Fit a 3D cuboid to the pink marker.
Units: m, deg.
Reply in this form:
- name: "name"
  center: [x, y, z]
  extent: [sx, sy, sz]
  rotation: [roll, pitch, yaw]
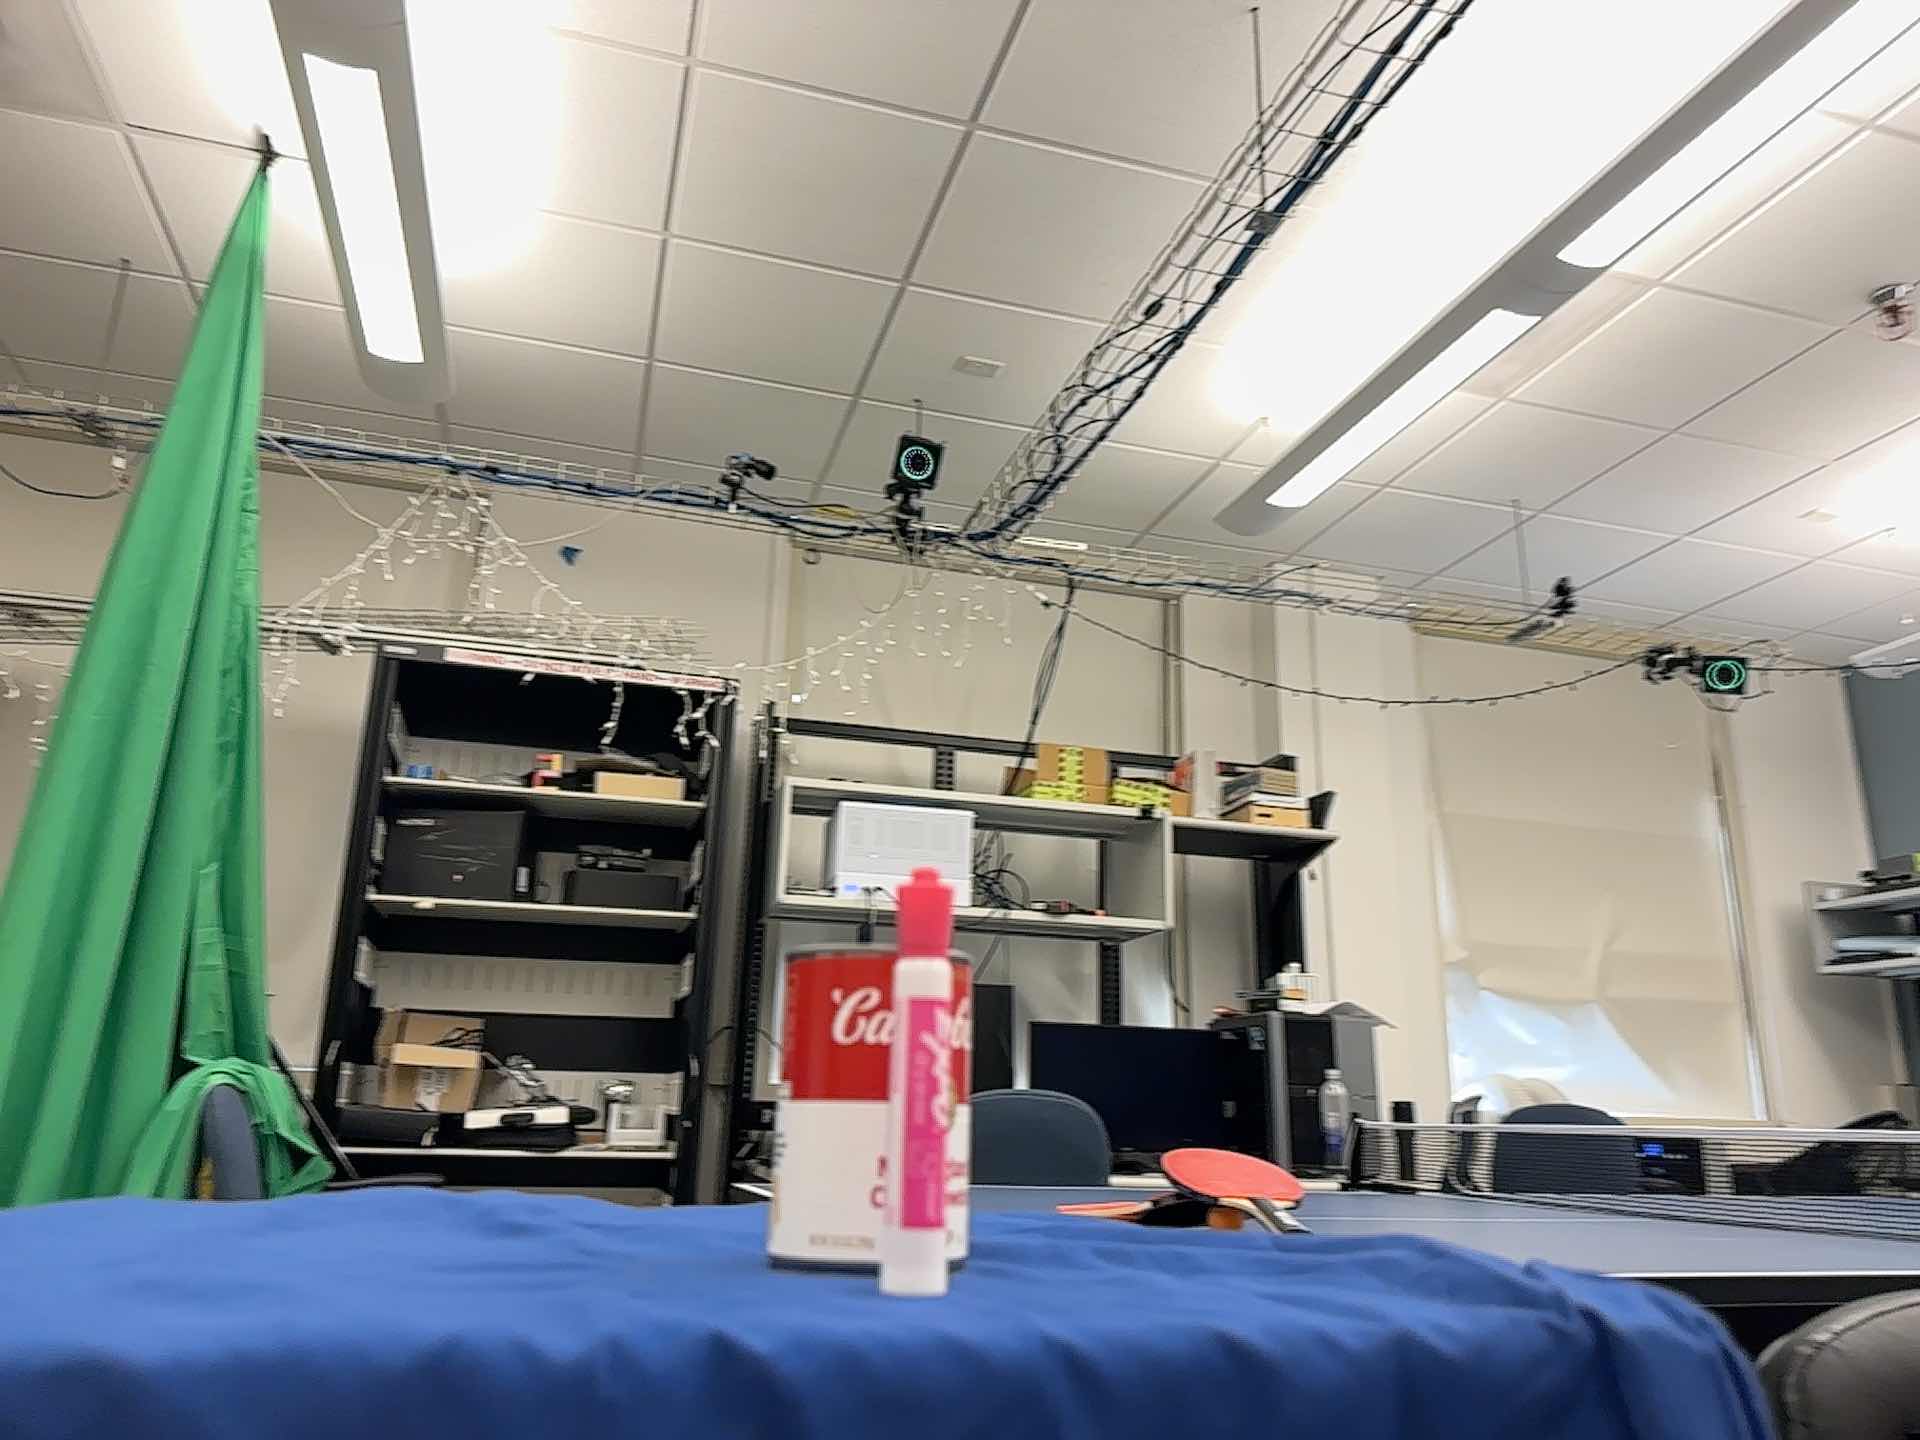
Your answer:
- name: "pink marker"
  center: [-0.012, 0.103, 0.397]
  extent: [0.020, 0.121, 0.020]
  rotation: [1, -14, 0]

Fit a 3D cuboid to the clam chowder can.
- name: "clam chowder can"
  center: [-0.029, 0.129, 0.460]
  extent: [0.068, 0.102, 0.068]
  rotation: [2, -13, 0]
